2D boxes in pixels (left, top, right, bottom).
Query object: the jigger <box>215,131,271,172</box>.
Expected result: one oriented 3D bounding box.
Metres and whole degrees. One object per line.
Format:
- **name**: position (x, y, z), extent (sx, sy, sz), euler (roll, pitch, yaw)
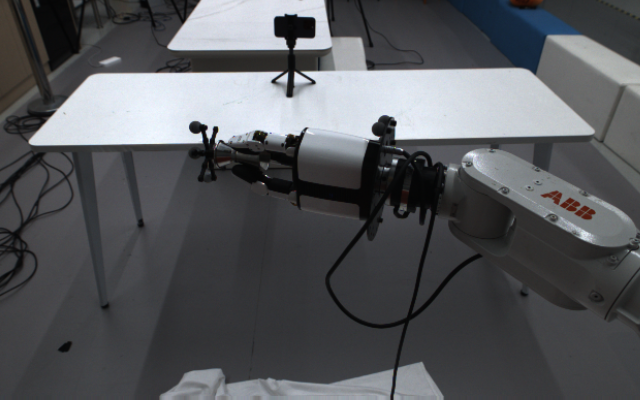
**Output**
- **jigger**: position (-0.101, -0.065, 0.674), extent (0.071, 0.043, 0.043), euler (4, 34, 13)
